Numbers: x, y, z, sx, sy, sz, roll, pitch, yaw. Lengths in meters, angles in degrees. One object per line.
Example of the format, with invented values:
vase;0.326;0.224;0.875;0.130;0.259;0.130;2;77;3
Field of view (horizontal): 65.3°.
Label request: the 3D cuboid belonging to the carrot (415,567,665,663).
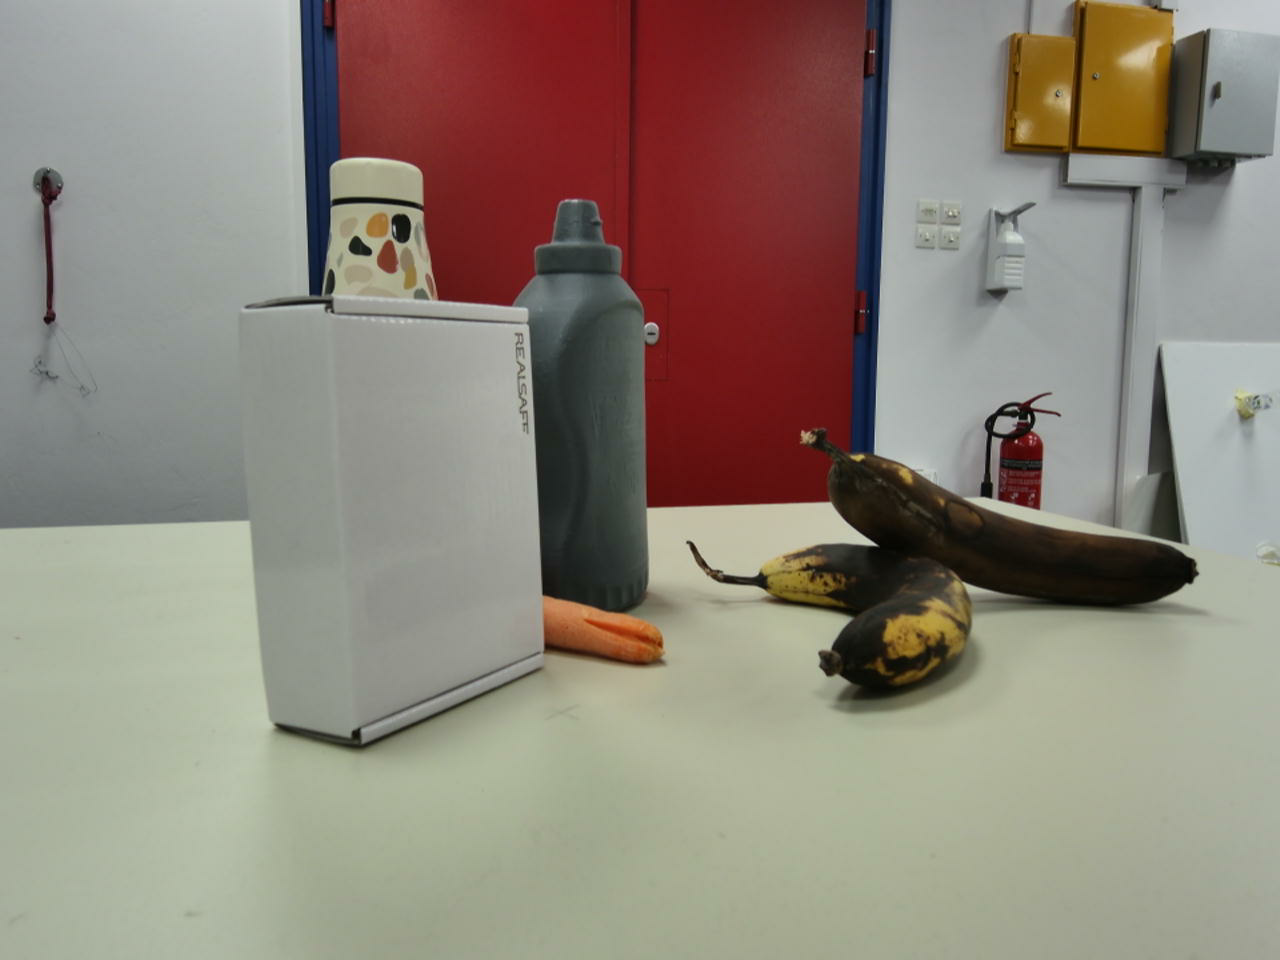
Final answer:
carrot;-0.049;0.060;0.457;0.136;0.032;0.030;3;5;32
